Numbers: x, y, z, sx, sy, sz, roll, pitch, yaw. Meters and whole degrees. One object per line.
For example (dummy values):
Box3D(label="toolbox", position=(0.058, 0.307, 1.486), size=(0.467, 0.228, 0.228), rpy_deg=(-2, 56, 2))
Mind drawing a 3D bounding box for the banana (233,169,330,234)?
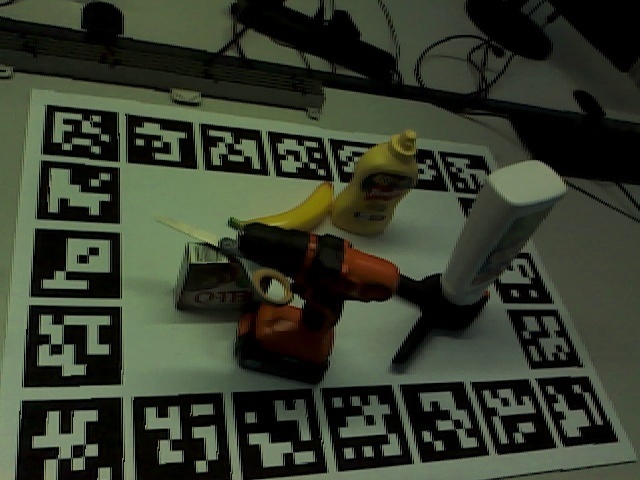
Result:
Box3D(label="banana", position=(-0.038, -0.055, 0.922), size=(0.074, 0.039, 0.196), rpy_deg=(30, 46, 24))

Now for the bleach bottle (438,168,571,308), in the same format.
Box3D(label="bleach bottle", position=(0.227, 0.017, 0.831), size=(0.102, 0.250, 0.068), rpy_deg=(-17, 59, -26))

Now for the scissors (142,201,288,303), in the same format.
Box3D(label="scissors", position=(-0.116, 0.004, 0.725), size=(0.202, 0.016, 0.088), rpy_deg=(27, 51, -9))

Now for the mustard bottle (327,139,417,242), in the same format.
Box3D(label="mustard bottle", position=(0.086, -0.075, 0.905), size=(0.096, 0.191, 0.058), rpy_deg=(16, 49, -14))

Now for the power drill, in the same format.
Box3D(label="power drill", position=(-0.033, 0.075, 0.689), size=(0.184, 0.187, 0.057), rpy_deg=(13, 43, -11))

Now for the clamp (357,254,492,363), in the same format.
Box3D(label="clamp", position=(0.162, 0.089, 0.886), size=(0.201, 0.037, 0.166), rpy_deg=(-1, 57, -27))

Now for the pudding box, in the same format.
Box3D(label="pudding box", position=(-0.128, 0.048, 0.772), size=(0.113, 0.090, 0.039), rpy_deg=(8, 45, -20))
